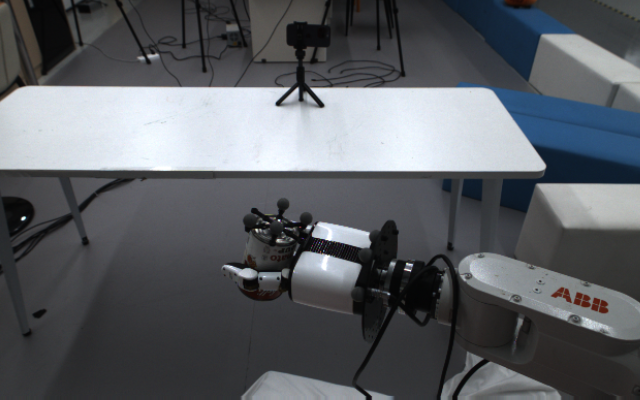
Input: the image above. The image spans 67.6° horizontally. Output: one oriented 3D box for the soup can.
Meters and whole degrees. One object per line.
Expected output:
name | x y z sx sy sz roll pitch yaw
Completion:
soup can | -0.071 0.080 0.664 0.067 0.101 0.067 13 30 -8
